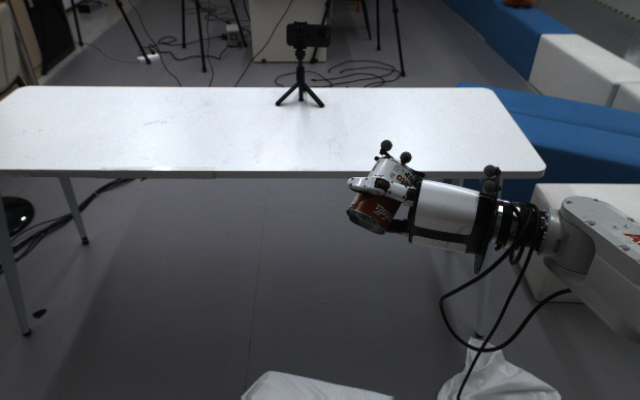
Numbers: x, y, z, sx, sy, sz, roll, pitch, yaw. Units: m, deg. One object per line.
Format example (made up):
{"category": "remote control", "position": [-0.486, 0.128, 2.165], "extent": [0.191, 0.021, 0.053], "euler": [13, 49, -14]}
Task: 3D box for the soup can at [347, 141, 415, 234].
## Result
{"category": "soup can", "position": [0.095, -0.008, 0.741], "extent": [0.067, 0.067, 0.101], "euler": [23, 72, 28]}
